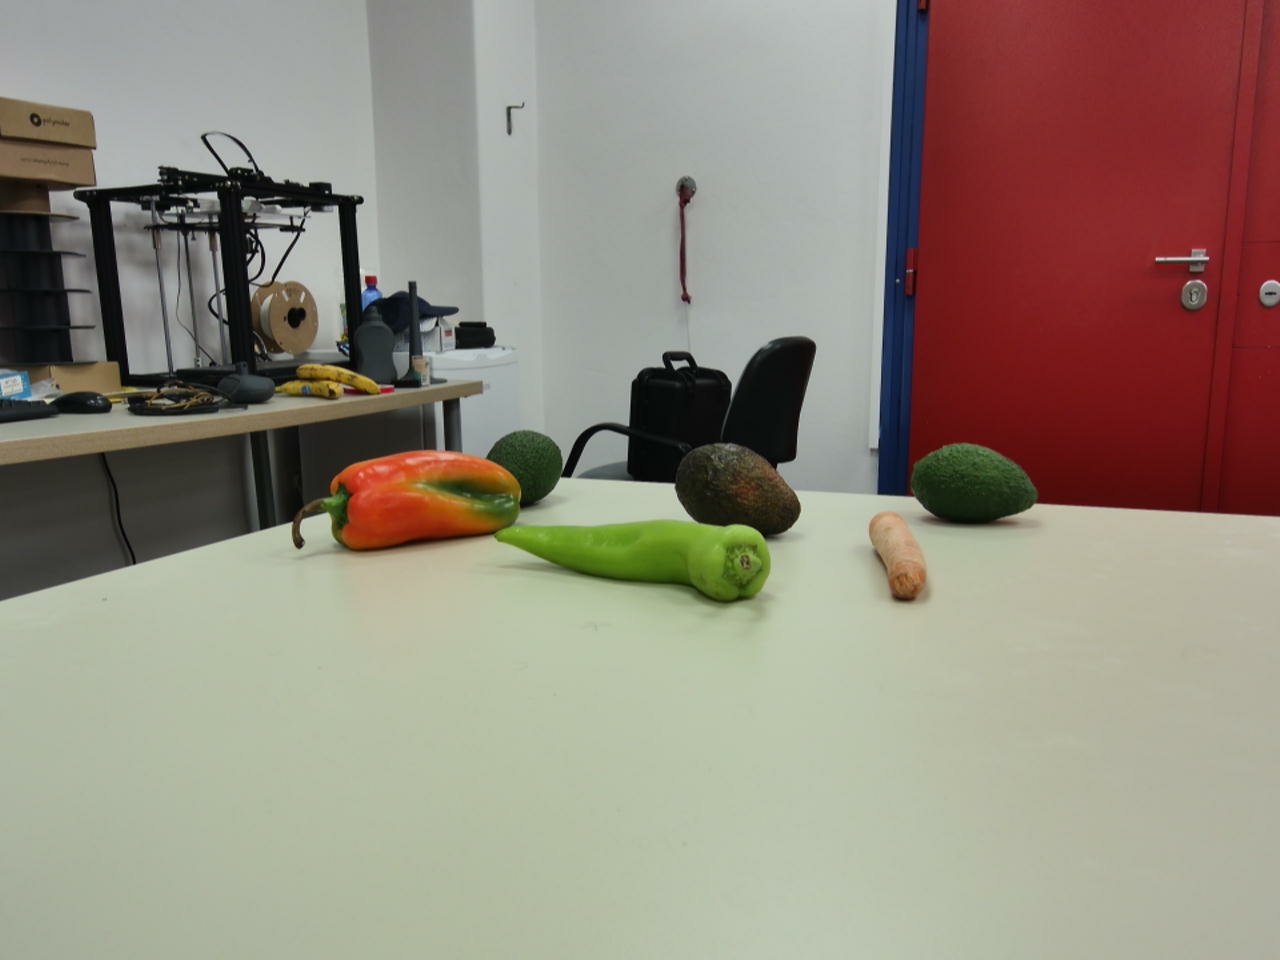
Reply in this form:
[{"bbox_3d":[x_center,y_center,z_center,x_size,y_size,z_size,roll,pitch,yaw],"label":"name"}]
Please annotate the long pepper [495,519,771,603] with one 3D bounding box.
[{"bbox_3d":[0.001,0.043,0.631,0.205,0.045,0.065,6,9,39],"label":"long pepper"}]
